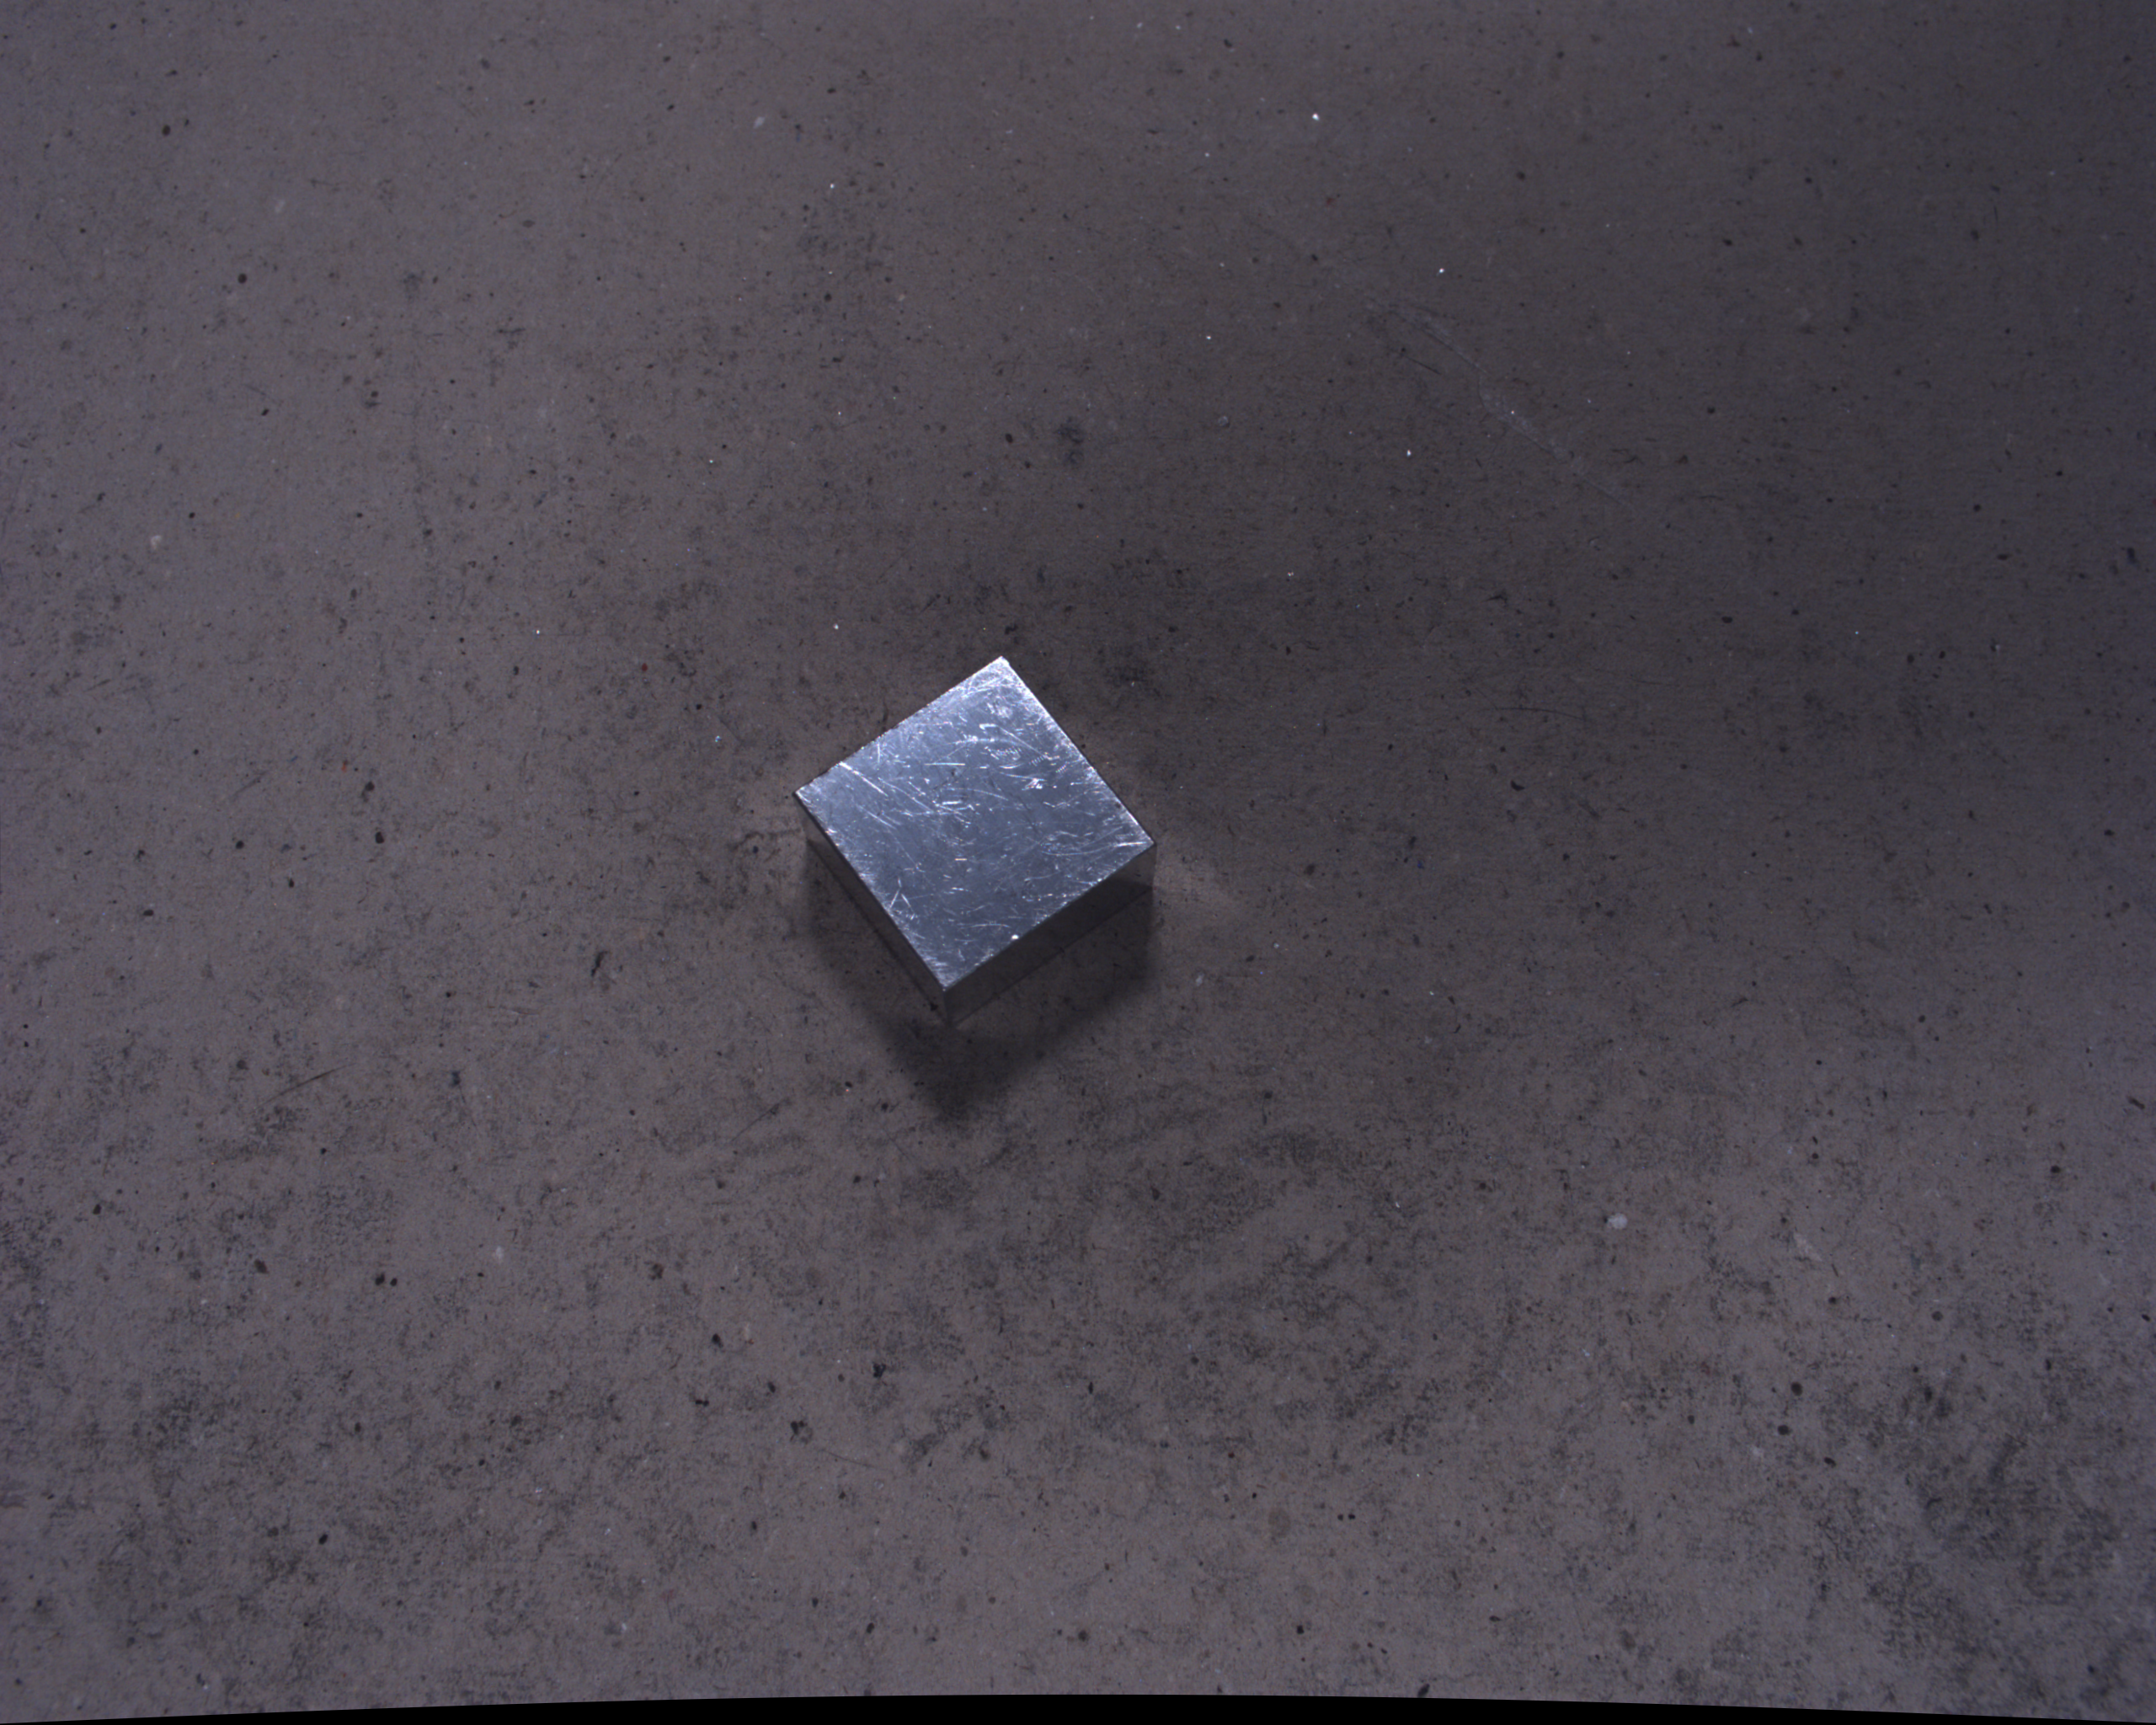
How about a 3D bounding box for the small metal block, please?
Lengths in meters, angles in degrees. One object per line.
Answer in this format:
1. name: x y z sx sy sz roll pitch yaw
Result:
1. small metal block: -0.020 -0.004 0.411 0.050 0.025 0.050 -35 74 -12
